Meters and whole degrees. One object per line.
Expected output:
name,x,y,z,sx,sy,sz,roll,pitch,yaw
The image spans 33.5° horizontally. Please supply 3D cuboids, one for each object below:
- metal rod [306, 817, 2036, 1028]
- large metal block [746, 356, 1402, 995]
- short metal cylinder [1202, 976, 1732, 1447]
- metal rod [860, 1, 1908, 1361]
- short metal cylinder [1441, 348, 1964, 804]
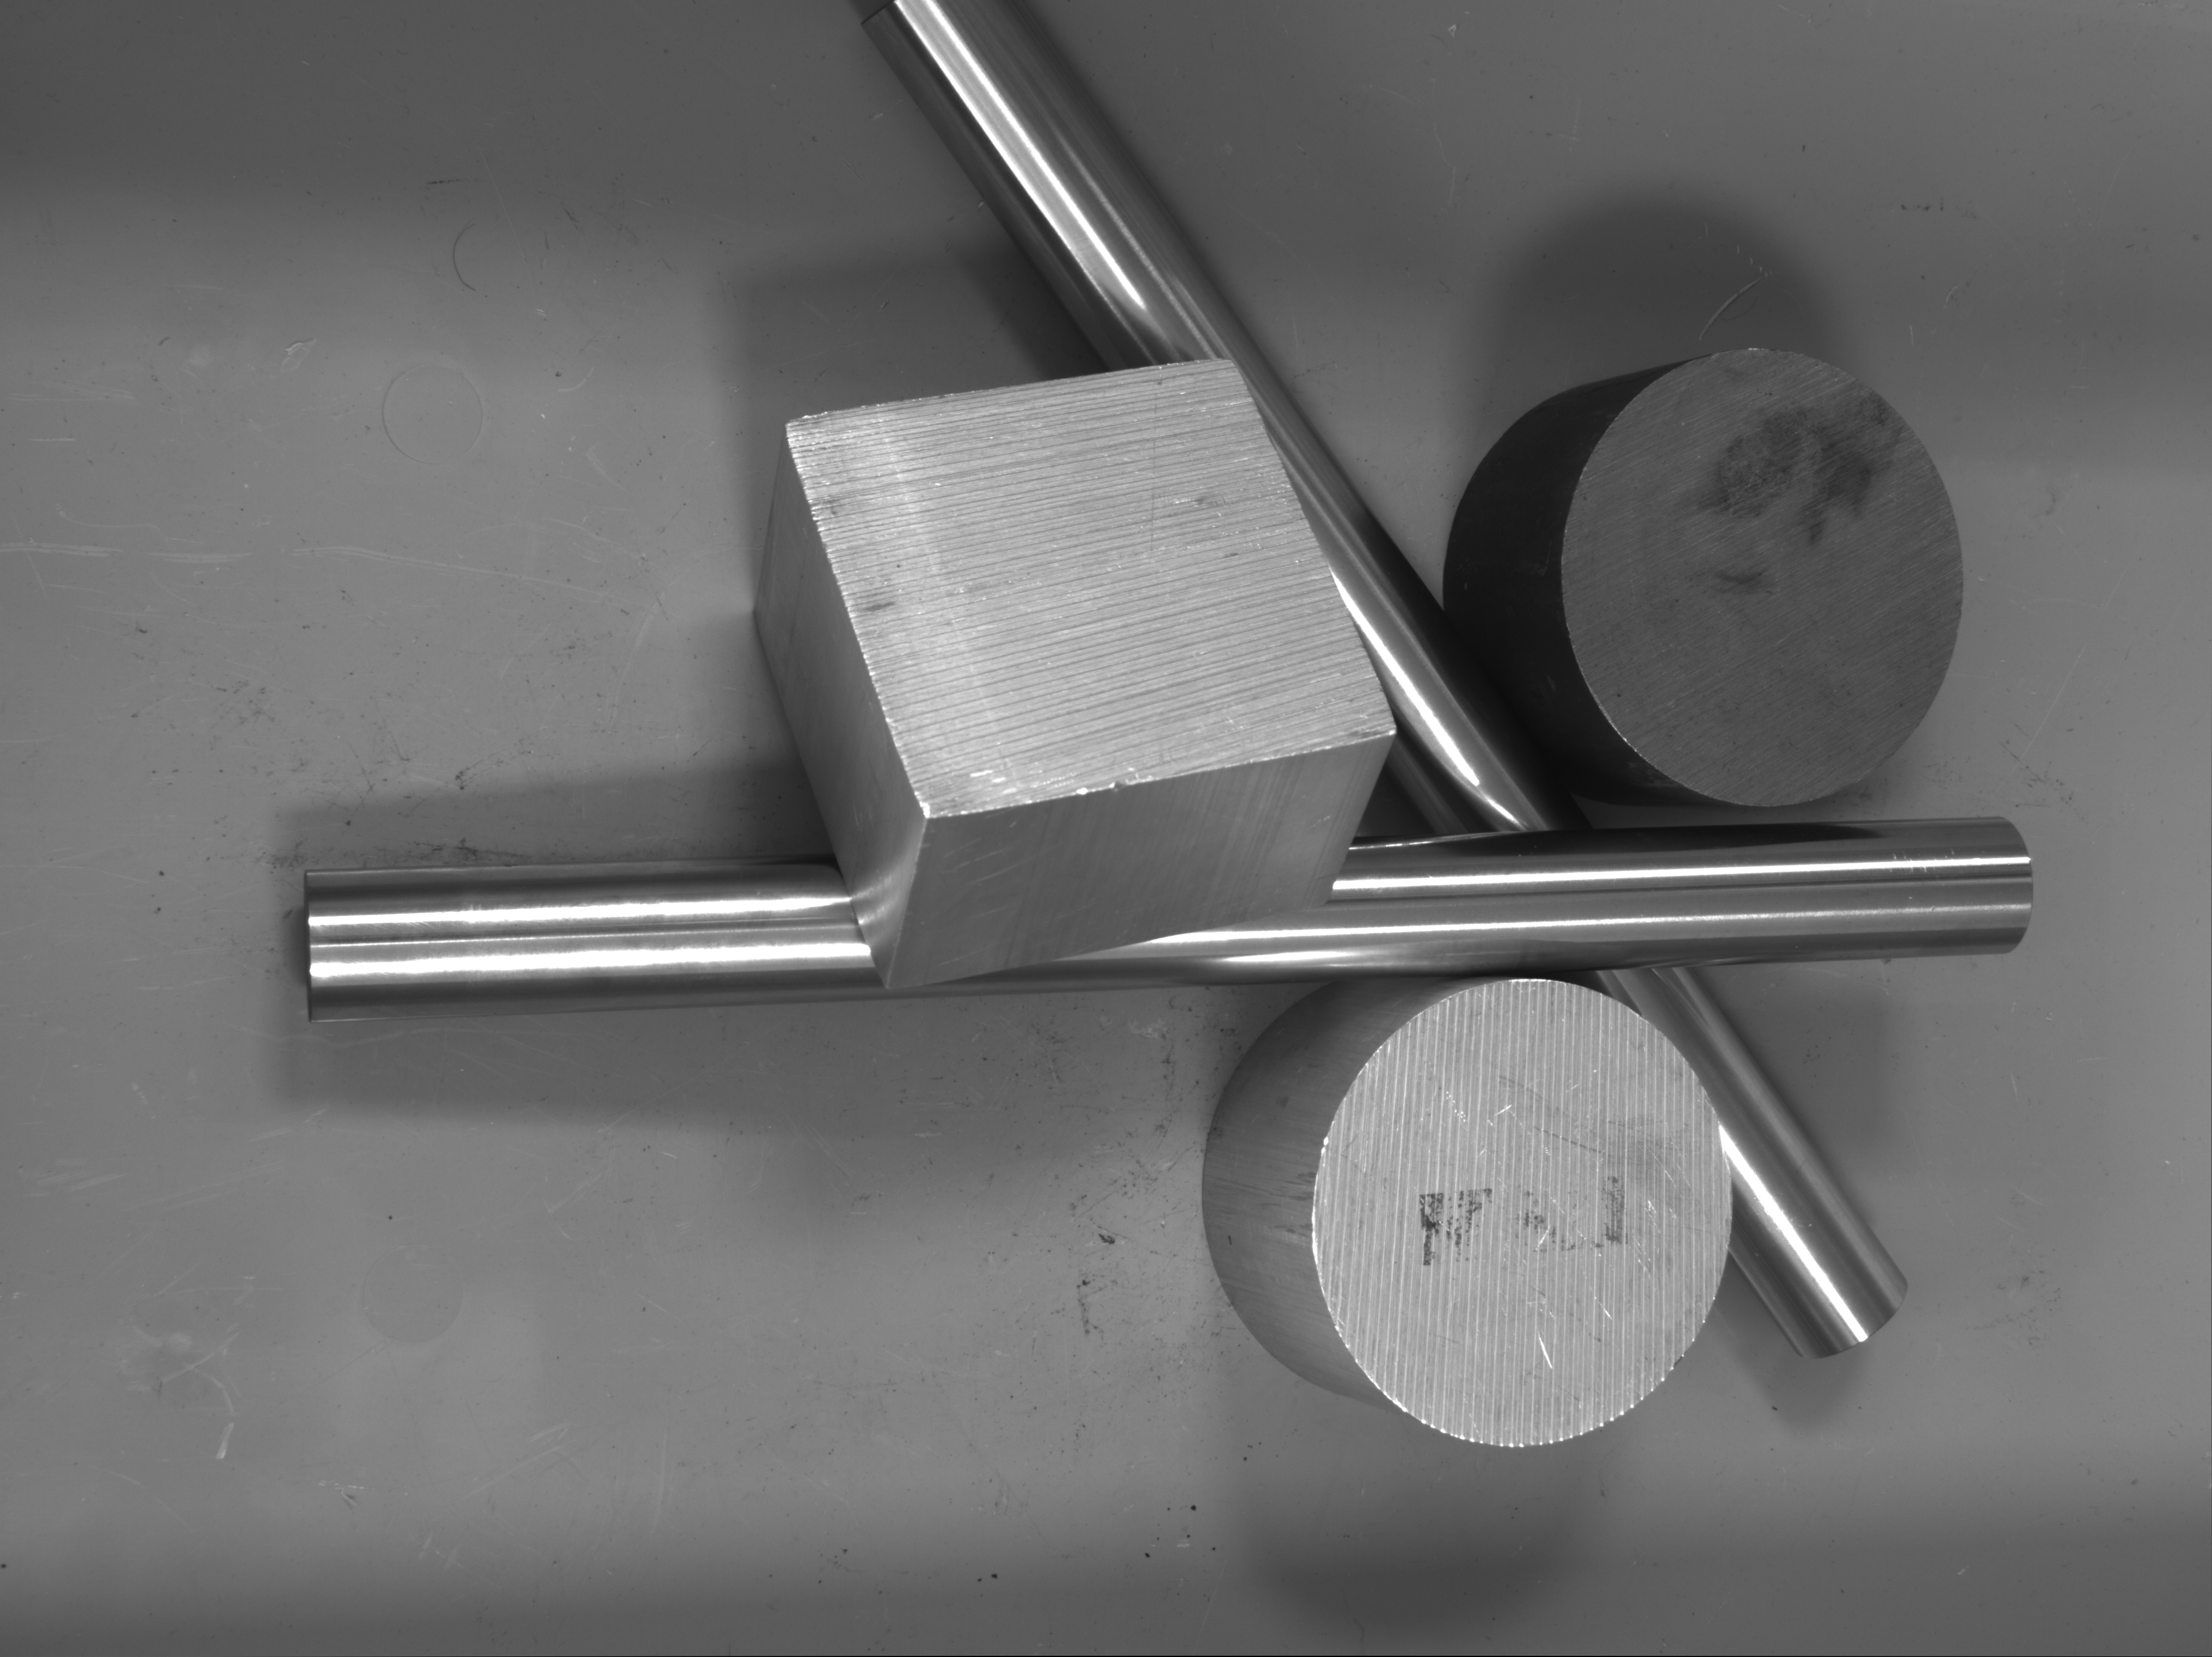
metal rod,0.017,0.015,0.630,0.300,0.025,0.025,-2,91,-14
large metal block,-0.008,-0.026,0.607,0.080,0.050,0.080,-10,59,-19
short metal cylinder,0.063,0.066,0.652,0.080,0.050,0.080,0,90,-20
metal rod,0.054,-0.027,0.662,0.025,0.025,0.300,-39,102,-16
short metal cylinder,0.108,-0.044,0.668,0.080,0.050,0.080,0,90,-20
